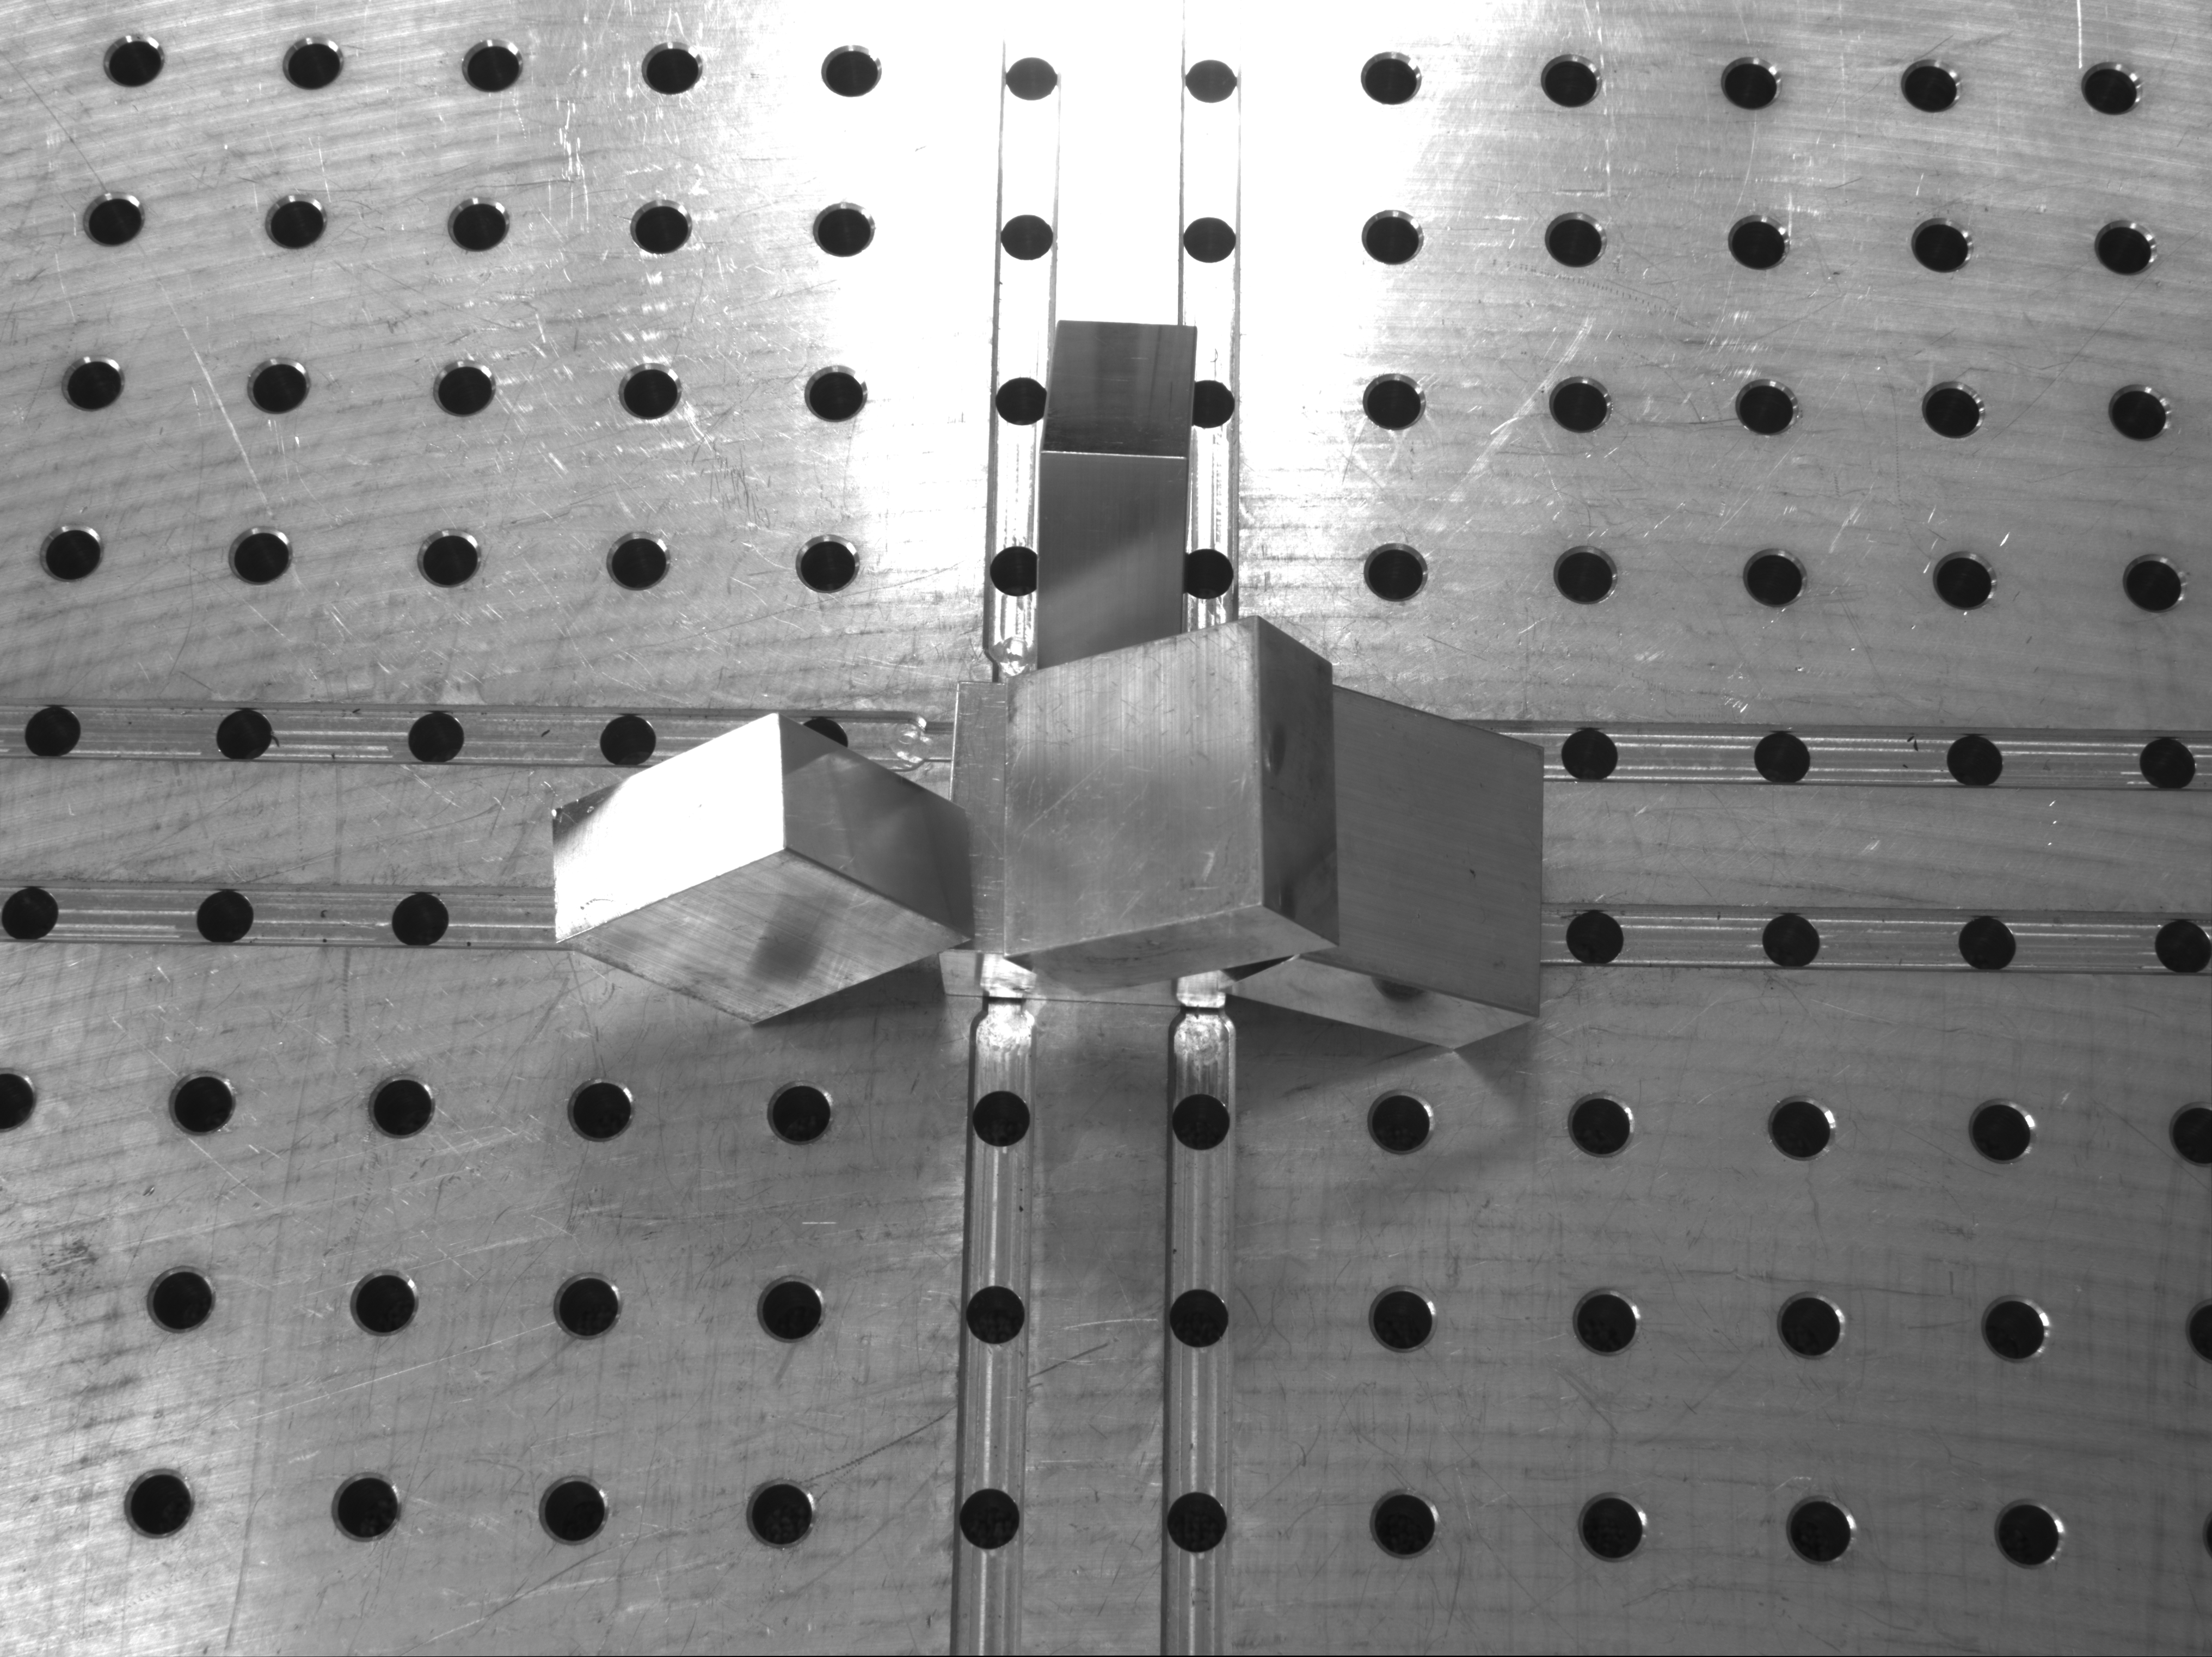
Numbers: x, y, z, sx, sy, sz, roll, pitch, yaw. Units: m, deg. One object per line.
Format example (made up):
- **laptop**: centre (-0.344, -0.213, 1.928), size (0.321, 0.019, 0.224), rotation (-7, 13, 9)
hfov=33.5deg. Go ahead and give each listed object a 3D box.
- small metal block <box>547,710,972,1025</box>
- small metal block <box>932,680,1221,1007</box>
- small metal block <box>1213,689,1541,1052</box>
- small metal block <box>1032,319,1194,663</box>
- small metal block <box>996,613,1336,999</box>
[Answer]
- **small metal block**: centre (-0.058, 0.008, 0.621), size (0.050, 0.050, 0.025), rotation (-21, 60, 29)
- **small metal block**: centre (-0.003, 0.003, 0.647), size (0.050, 0.025, 0.050), rotation (2, 70, 1)
- **small metal block**: centre (0.047, 0.007, 0.634), size (0.050, 0.025, 0.050), rotation (14, 67, -28)
- **small metal block**: centre (0.001, -0.055, 0.644), size (0.025, 0.050, 0.050), rotation (3, 34, 2)
- **small metal block**: centre (0.010, -0.003, 0.610), size (0.050, 0.025, 0.050), rotation (-13, 66, 31)
